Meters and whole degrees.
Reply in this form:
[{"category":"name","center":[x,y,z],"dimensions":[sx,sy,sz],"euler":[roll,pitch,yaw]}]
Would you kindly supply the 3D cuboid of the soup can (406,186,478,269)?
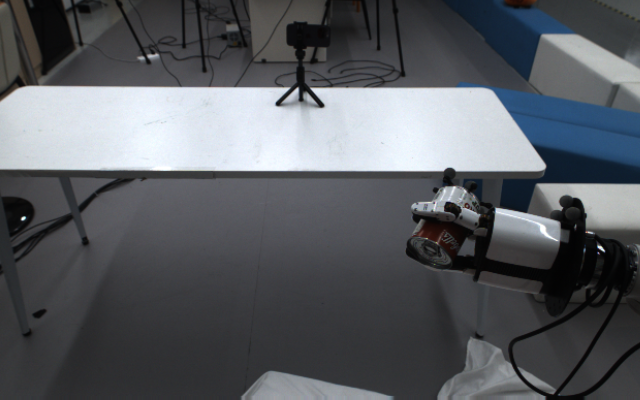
[{"category":"soup can","center":[0.177,0.036,0.677],"dimensions":[0.067,0.067,0.101],"euler":[22,60,26]}]
